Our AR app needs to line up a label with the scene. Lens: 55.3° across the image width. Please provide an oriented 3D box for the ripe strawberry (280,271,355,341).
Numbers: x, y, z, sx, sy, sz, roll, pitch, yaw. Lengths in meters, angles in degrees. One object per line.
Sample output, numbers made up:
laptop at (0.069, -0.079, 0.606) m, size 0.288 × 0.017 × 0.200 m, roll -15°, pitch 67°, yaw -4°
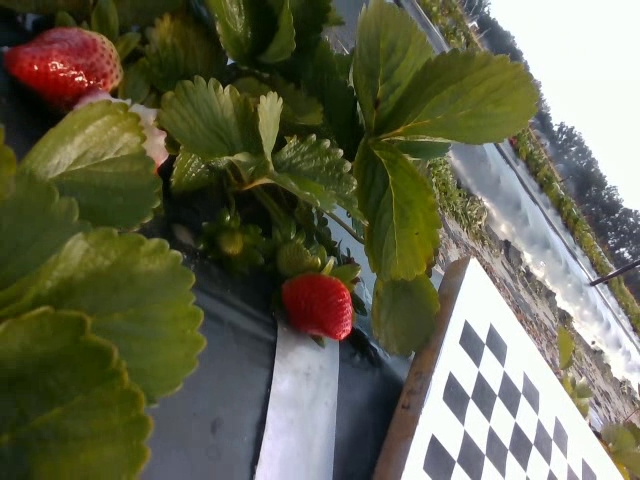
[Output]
ripe strawberry at (0.005, 0.036, 0.294) m, size 0.035 × 0.050 × 0.055 m, roll -27°, pitch 26°, yaw 18°
